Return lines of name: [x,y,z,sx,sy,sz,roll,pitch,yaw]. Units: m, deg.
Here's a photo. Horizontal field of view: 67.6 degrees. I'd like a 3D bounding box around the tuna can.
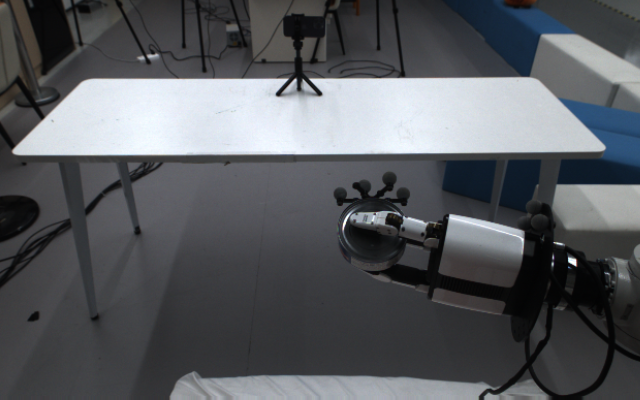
tuna can: [0.064,0.040,0.588,0.085,0.034,0.085,-2,58,3]
